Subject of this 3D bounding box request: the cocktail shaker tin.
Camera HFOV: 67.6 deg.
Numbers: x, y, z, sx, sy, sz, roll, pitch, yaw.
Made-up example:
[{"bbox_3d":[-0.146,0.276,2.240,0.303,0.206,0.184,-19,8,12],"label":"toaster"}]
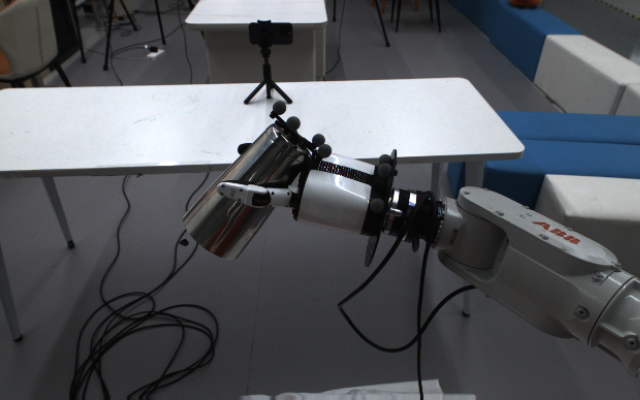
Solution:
[{"bbox_3d":[-0.090,-0.017,0.636,0.093,0.170,0.093,41,12,-11],"label":"cocktail shaker tin"}]
